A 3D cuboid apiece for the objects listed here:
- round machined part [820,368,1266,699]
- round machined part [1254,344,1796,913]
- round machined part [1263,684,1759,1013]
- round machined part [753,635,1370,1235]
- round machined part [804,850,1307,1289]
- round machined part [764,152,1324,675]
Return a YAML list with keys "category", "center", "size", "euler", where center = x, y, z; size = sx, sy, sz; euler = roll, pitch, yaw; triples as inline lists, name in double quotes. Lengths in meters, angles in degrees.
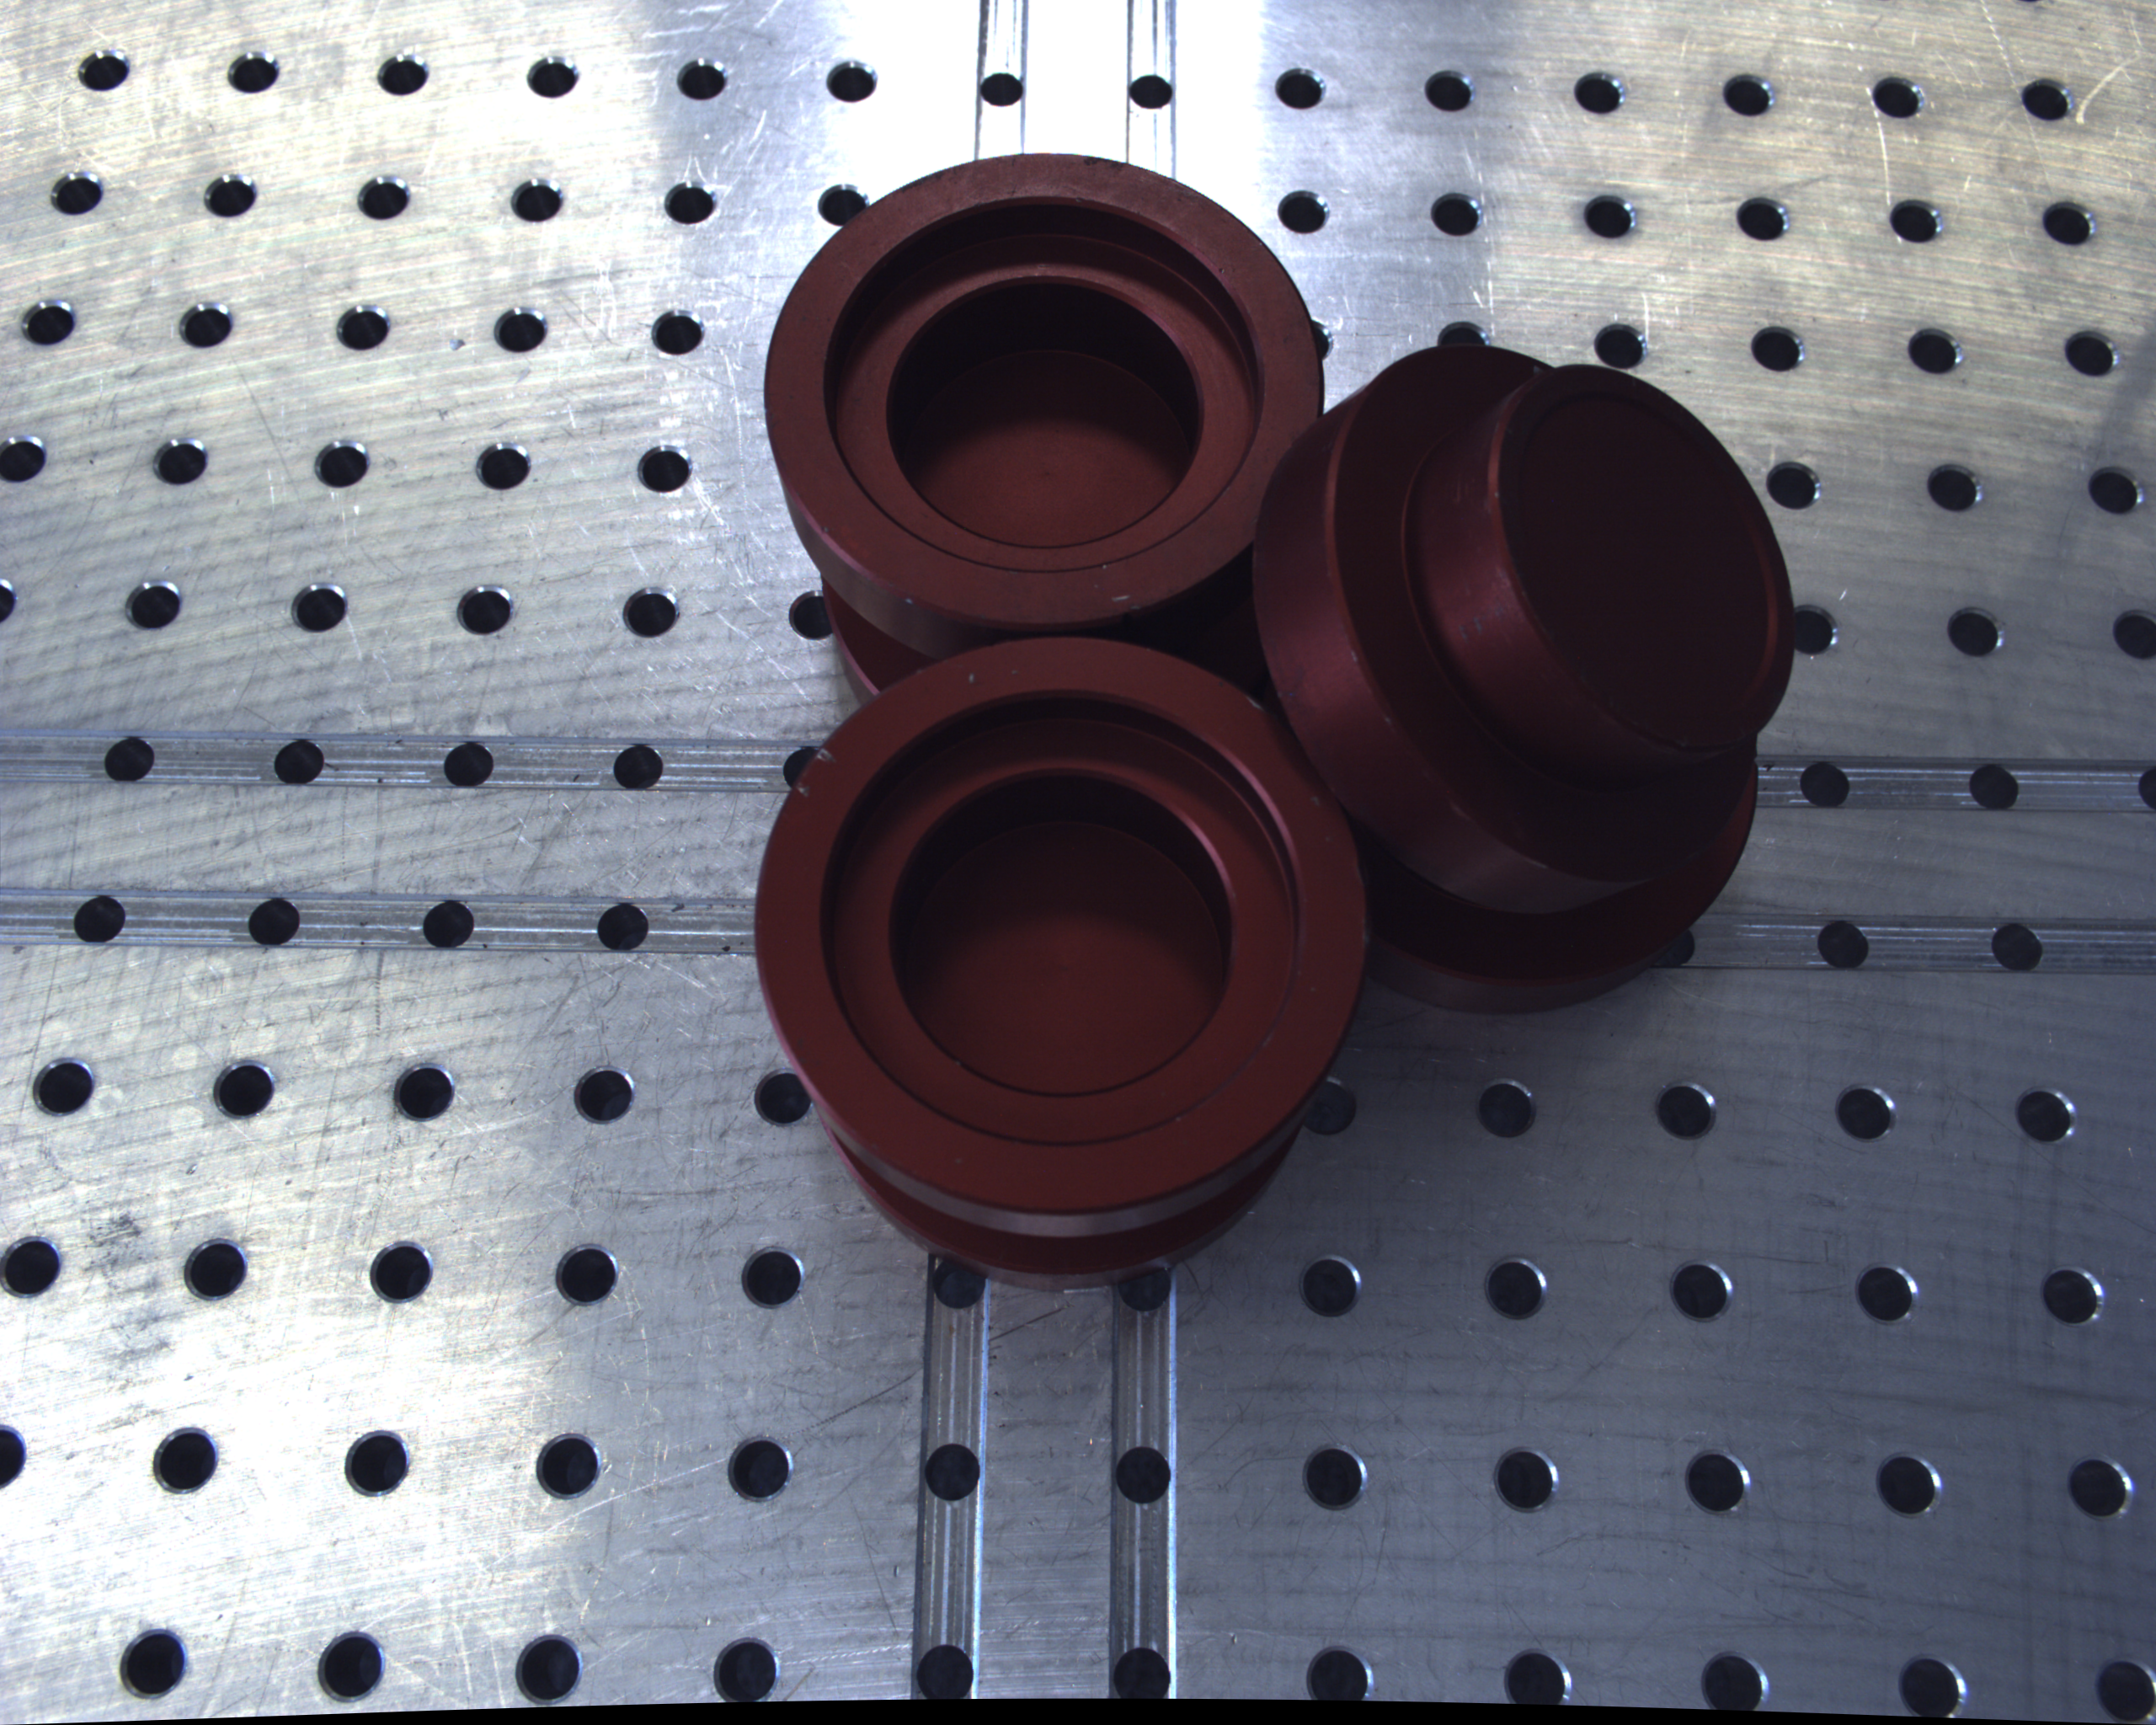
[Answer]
- category: "round machined part"
  center: [-0.004, -0.064, 0.427]
  size: [0.099, 0.042, 0.098]
  euler: [0, 70, 0]
- category: "round machined part"
  center: [0.081, -0.044, 0.352]
  size: [0.099, 0.042, 0.098]
  euler: [12, 66, -30]
- category: "round machined part"
  center: [0.085, -0.023, 0.412]
  size: [0.099, 0.042, 0.098]
  euler: [0, 70, 0]
- category: "round machined part"
  center: [-0.003, 0.014, 0.352]
  size: [0.099, 0.042, 0.098]
  euler: [0, 70, 0]
- category: "round machined part"
  center: [-0.003, 0.029, 0.393]
  size: [0.099, 0.042, 0.098]
  euler: [0, 70, 0]
- category: "round machined part"
  center: [-0.006, -0.078, 0.386]
  size: [0.099, 0.042, 0.098]
  euler: [0, 70, 0]
